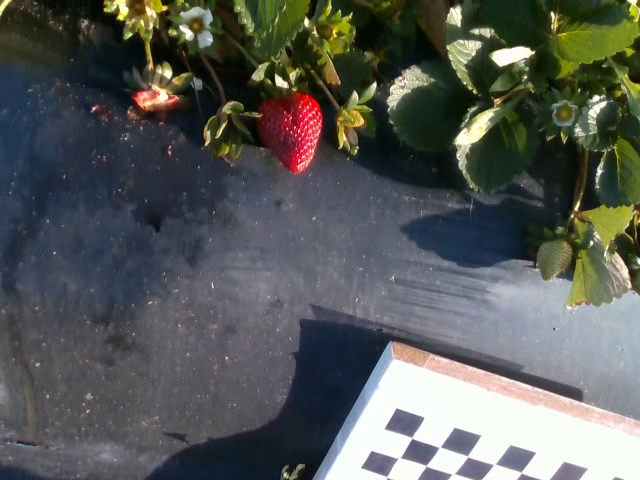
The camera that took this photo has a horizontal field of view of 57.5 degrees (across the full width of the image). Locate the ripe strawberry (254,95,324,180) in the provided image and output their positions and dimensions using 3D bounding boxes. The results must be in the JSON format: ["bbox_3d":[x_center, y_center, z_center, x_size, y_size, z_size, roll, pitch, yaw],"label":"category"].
[{"bbox_3d":[-0.018,-0.065,0.368,0.052,0.052,0.041,-9,-30,5],"label":"ripe strawberry"}]
